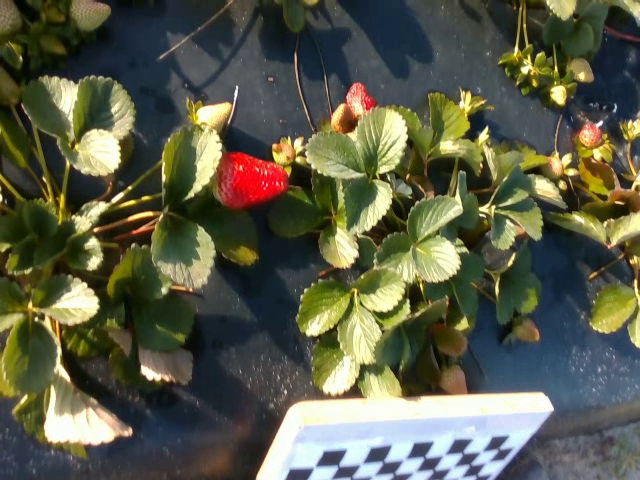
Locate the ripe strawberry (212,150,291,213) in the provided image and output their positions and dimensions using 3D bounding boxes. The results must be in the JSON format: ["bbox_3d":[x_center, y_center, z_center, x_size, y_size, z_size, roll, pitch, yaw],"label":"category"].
[{"bbox_3d":[-0.055,-0.049,0.592,0.072,0.057,0.055,-8,45,-7],"label":"ripe strawberry"}]
